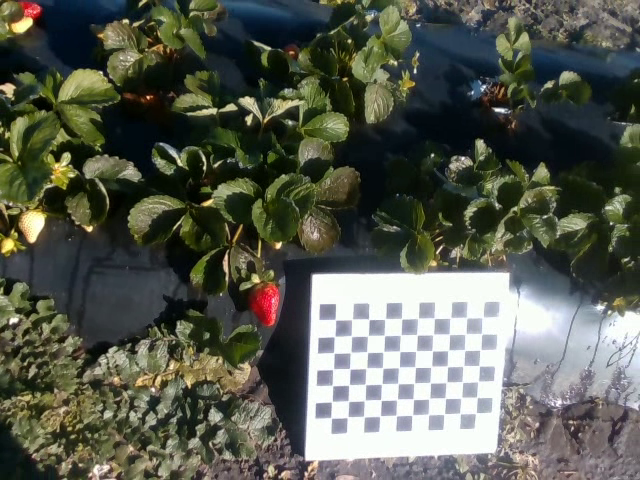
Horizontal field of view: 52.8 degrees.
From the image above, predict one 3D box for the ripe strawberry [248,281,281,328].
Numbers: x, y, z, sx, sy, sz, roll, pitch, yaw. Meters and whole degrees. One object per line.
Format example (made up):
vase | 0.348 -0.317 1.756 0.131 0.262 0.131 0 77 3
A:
ripe strawberry | -0.076 0.090 0.854 0.048 0.069 0.040 -17 3 -5
